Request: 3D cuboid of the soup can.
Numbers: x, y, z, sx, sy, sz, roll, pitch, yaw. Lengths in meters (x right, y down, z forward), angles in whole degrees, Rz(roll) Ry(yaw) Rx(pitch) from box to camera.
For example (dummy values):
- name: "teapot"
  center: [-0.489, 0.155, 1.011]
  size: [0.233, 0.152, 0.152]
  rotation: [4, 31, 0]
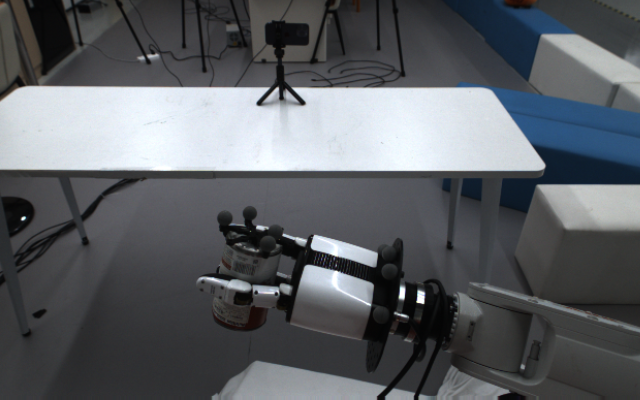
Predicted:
- name: "soup can"
  center: [-0.084, 0.093, 0.568]
  size: [0.067, 0.101, 0.067]
  rotation: [13, 18, -4]
